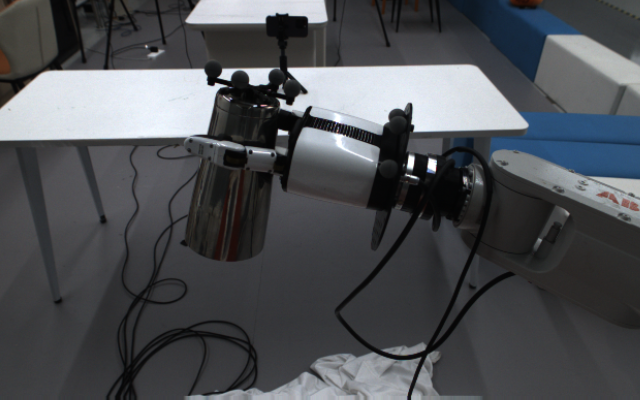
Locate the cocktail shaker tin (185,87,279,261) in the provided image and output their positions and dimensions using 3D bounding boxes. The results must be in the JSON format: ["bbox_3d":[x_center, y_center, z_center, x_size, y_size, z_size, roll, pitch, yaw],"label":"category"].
[{"bbox_3d":[-0.088,-0.032,0.527,0.093,0.170,0.093,12,25,-6],"label":"cocktail shaker tin"}]
